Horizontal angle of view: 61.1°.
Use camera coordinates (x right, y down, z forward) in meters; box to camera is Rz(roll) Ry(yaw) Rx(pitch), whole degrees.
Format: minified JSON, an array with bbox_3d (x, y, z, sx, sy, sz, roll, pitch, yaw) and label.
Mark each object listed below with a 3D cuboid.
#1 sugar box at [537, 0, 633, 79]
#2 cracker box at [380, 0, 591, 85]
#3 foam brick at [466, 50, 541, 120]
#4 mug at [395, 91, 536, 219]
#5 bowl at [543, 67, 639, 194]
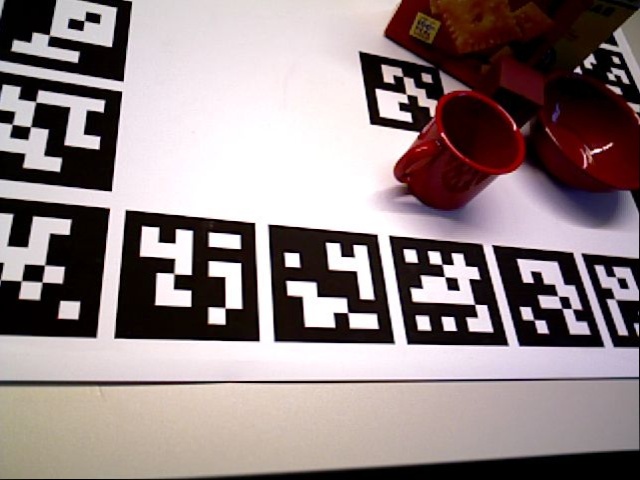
[{"bbox_3d":[0.279,-0.263,0.604,0.092,0.181,0.044,23,56,-9],"label":"sugar box"},{"bbox_3d":[0.184,-0.268,0.547,0.164,0.219,0.070,31,53,-5],"label":"cracker box"},{"bbox_3d":[0.184,-0.144,0.568,0.052,0.080,0.050,18,56,-12],"label":"foam brick"},{"bbox_3d":[0.121,-0.073,0.491,0.115,0.083,0.092,-5,57,-23],"label":"mug"},{"bbox_3d":[0.301,-0.108,0.592,0.160,0.056,0.159,9,61,-18],"label":"bowl"}]
